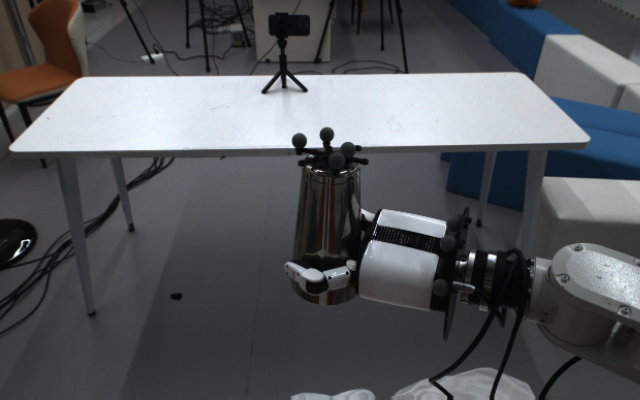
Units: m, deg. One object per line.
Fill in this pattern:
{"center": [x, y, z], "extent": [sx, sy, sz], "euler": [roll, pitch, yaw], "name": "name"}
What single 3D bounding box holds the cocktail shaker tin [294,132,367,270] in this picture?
{"center": [0.012, 0.032, 0.591], "extent": [0.093, 0.170, 0.093], "euler": [1, 28, -1], "name": "cocktail shaker tin"}
